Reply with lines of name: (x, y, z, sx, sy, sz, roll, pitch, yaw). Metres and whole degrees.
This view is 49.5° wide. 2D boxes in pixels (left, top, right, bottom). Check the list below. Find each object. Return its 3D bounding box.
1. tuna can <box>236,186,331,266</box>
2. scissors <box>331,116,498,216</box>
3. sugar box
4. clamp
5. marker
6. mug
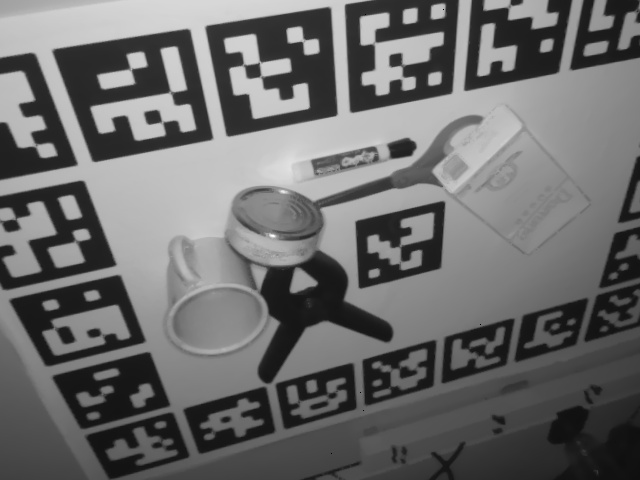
tuna can: (-0.031, -0.015, 0.634, 0.087, 0.086, 0.033, 2, 125, -19)
scissors: (0.105, -0.059, 0.687, 0.203, 0.016, 0.087, -20, 132, -2)
sugar box: (0.214, -0.054, 0.707, 0.092, 0.045, 0.178, -42, 132, 14)
clamp: (0.003, 0.072, 0.753, 0.166, 0.037, 0.202, -21, 127, -3)
marker: (0.057, -0.083, 0.657, 0.122, 0.019, 0.019, -16, 127, -8)
mug: (-0.086, 0.037, 0.660, 0.093, 0.081, 0.117, -34, 131, 8)
